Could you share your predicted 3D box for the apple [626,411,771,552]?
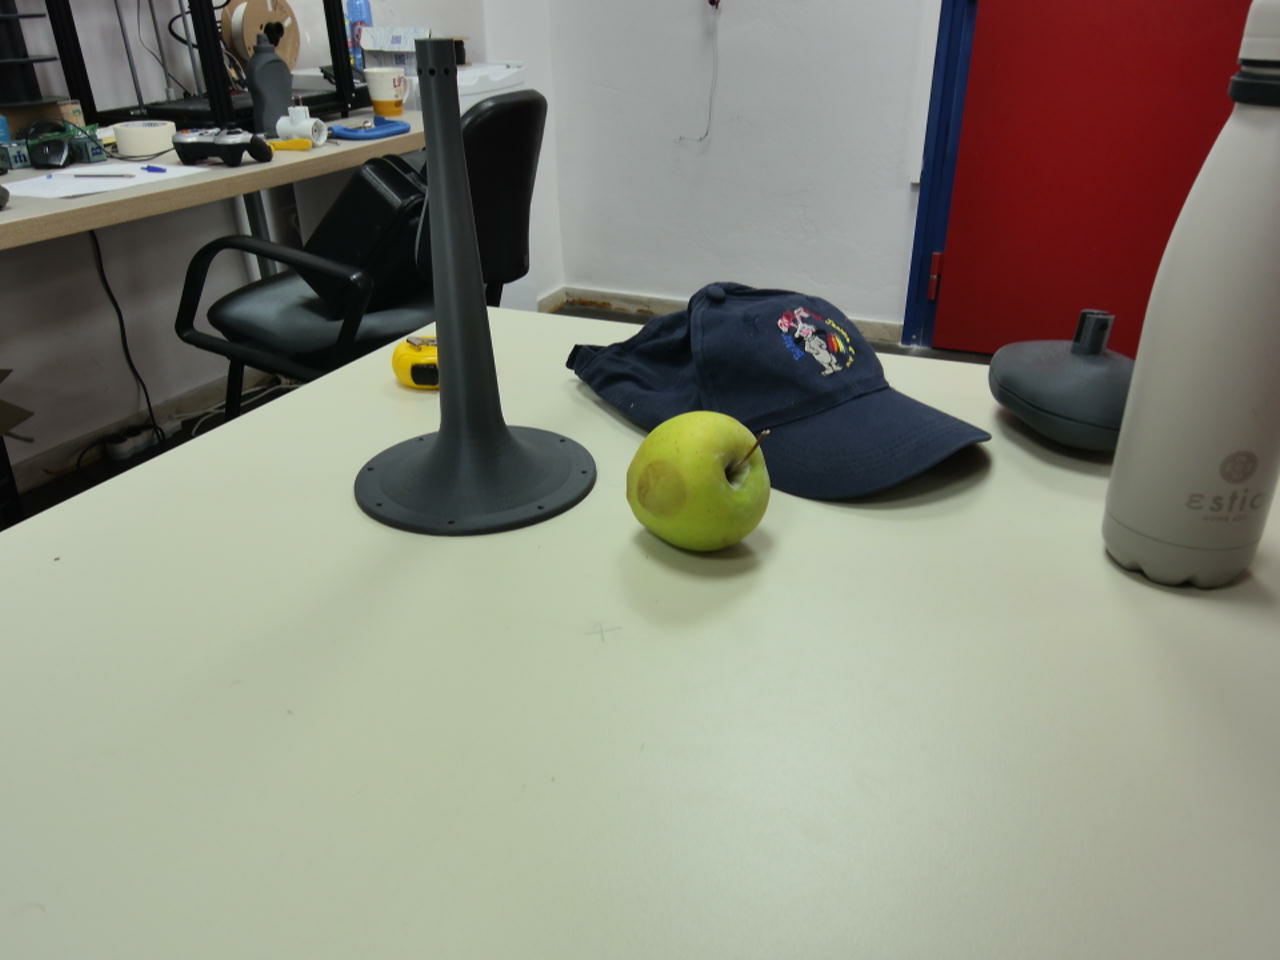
[{"bbox_3d":[0.032,-0.001,0.538,0.072,0.075,0.077,-10,26,-19],"label":"apple"}]
